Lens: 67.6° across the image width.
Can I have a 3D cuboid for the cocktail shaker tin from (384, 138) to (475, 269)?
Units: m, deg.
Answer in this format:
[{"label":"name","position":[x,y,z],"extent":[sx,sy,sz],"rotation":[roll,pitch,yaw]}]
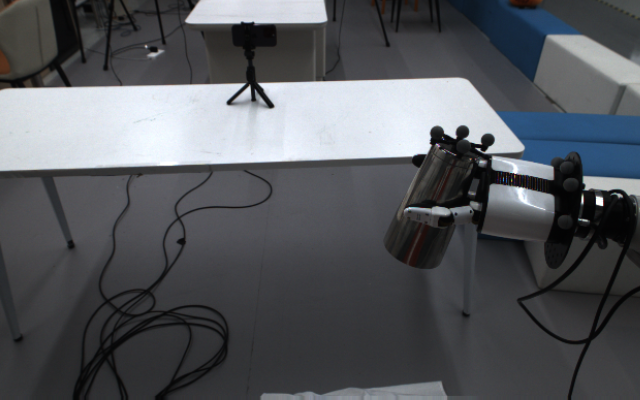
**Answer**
[{"label":"cocktail shaker tin","position":[0.163,0.000,0.686],"extent":[0.093,0.170,0.093],"rotation":[12,29,-7]}]
